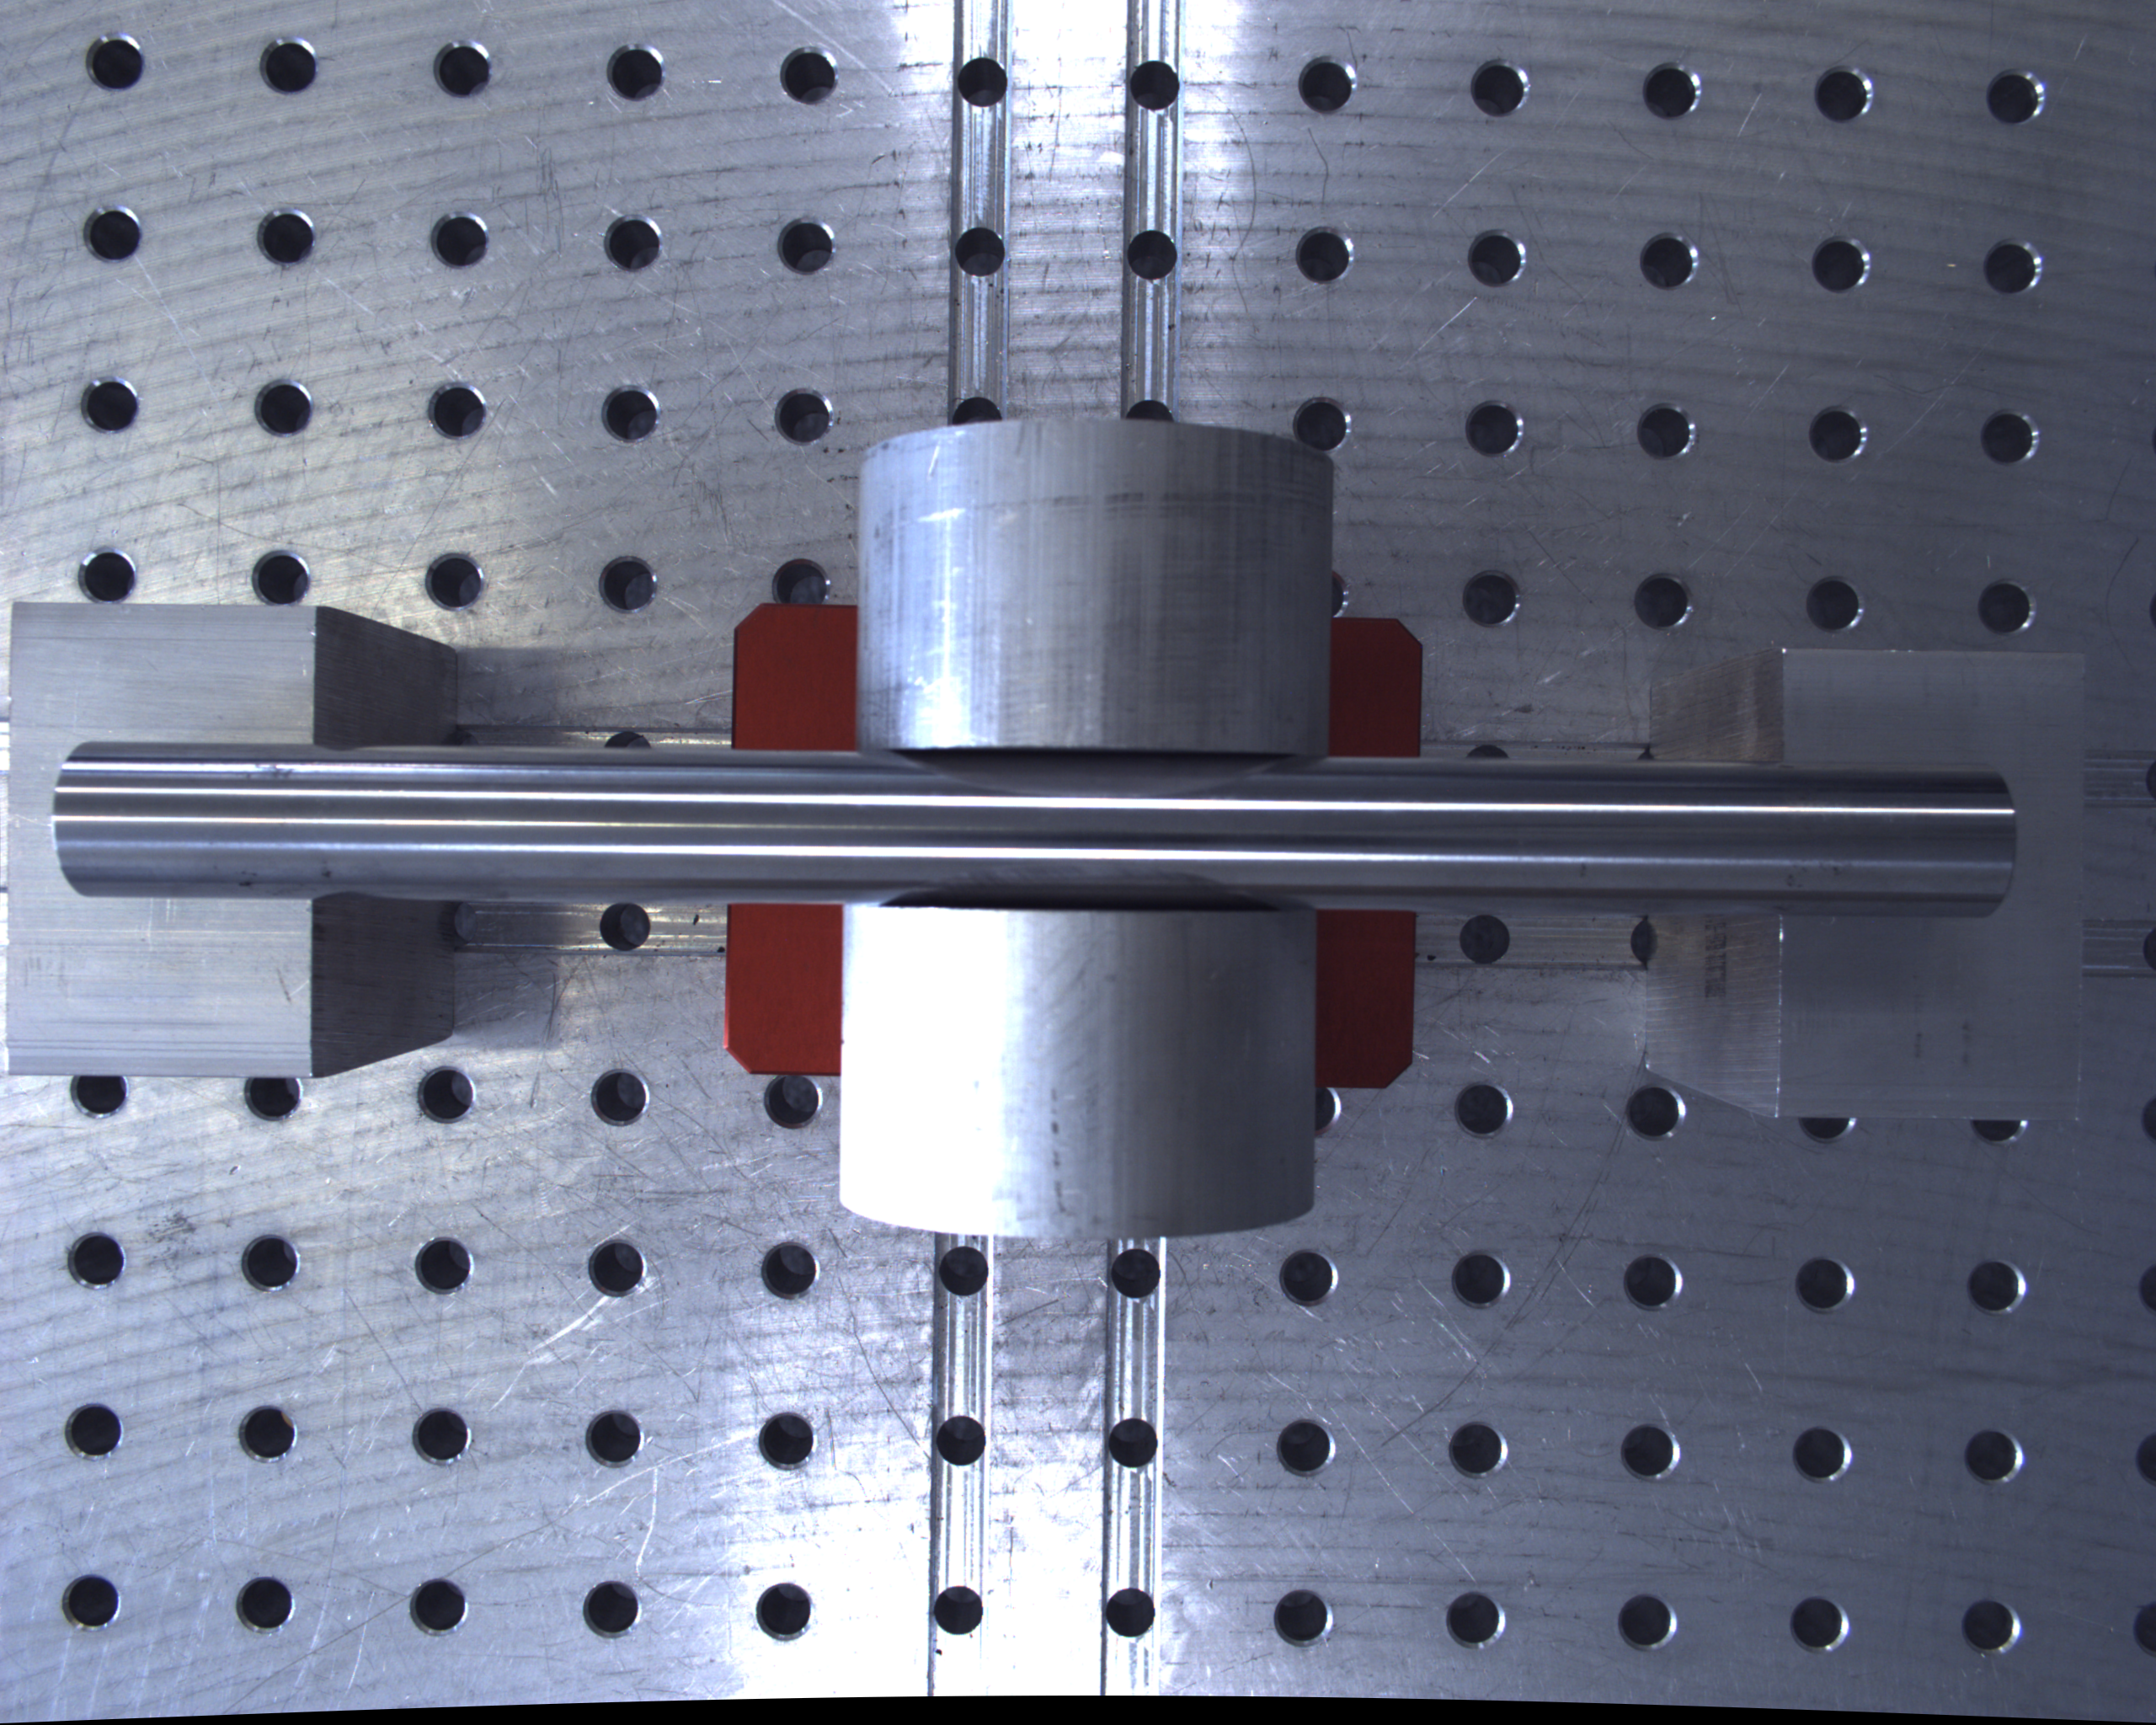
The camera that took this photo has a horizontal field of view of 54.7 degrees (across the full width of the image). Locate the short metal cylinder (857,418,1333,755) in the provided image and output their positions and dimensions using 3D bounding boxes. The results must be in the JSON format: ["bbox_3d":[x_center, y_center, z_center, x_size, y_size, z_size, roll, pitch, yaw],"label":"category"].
[{"bbox_3d":[0.003,-0.043,0.356,0.081,0.080,0.050,1,90,0],"label":"short metal cylinder"}]

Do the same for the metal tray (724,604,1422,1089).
[{"bbox_3d":[-0.001,-0.003,0.411,0.131,0.030,0.089,1,90,0],"label":"metal tray"}]

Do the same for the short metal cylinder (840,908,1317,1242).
[{"bbox_3d":[0.000,0.032,0.356,0.081,0.080,0.050,1,90,0],"label":"short metal cylinder"}]

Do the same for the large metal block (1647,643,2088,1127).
[{"bbox_3d":[0.142,0.003,0.386,0.050,0.080,0.080,1,90,0],"label":"large metal block"}]

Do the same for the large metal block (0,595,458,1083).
[{"bbox_3d":[-0.152,-0.004,0.383,0.050,0.080,0.080,1,90,0],"label":"large metal block"}]

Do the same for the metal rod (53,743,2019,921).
[{"bbox_3d":[-0.006,-0.005,0.333,0.302,0.025,0.025,1,90,0],"label":"metal rod"}]
